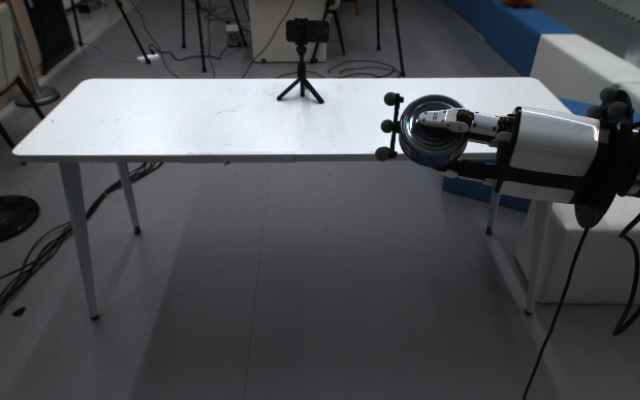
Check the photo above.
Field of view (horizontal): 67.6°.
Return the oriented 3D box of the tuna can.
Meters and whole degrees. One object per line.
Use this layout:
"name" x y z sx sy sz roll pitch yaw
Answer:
"tuna can" 0.142 -0.089 0.599 0.085 0.034 0.085 -2 68 6
